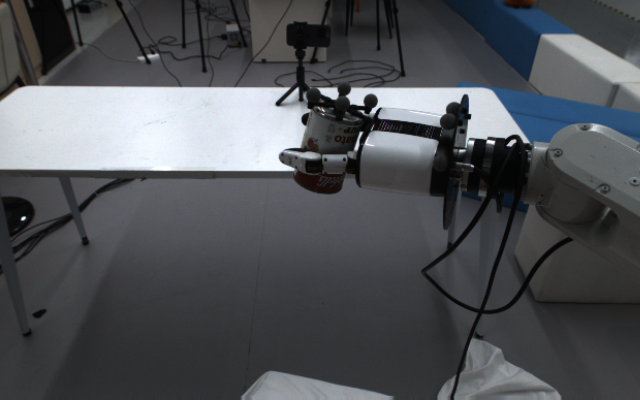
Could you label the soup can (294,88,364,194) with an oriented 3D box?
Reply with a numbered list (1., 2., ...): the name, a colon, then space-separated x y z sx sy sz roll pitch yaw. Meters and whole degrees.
1. soup can: 0.011 -0.067 0.611 0.067 0.101 0.067 13 30 -8
